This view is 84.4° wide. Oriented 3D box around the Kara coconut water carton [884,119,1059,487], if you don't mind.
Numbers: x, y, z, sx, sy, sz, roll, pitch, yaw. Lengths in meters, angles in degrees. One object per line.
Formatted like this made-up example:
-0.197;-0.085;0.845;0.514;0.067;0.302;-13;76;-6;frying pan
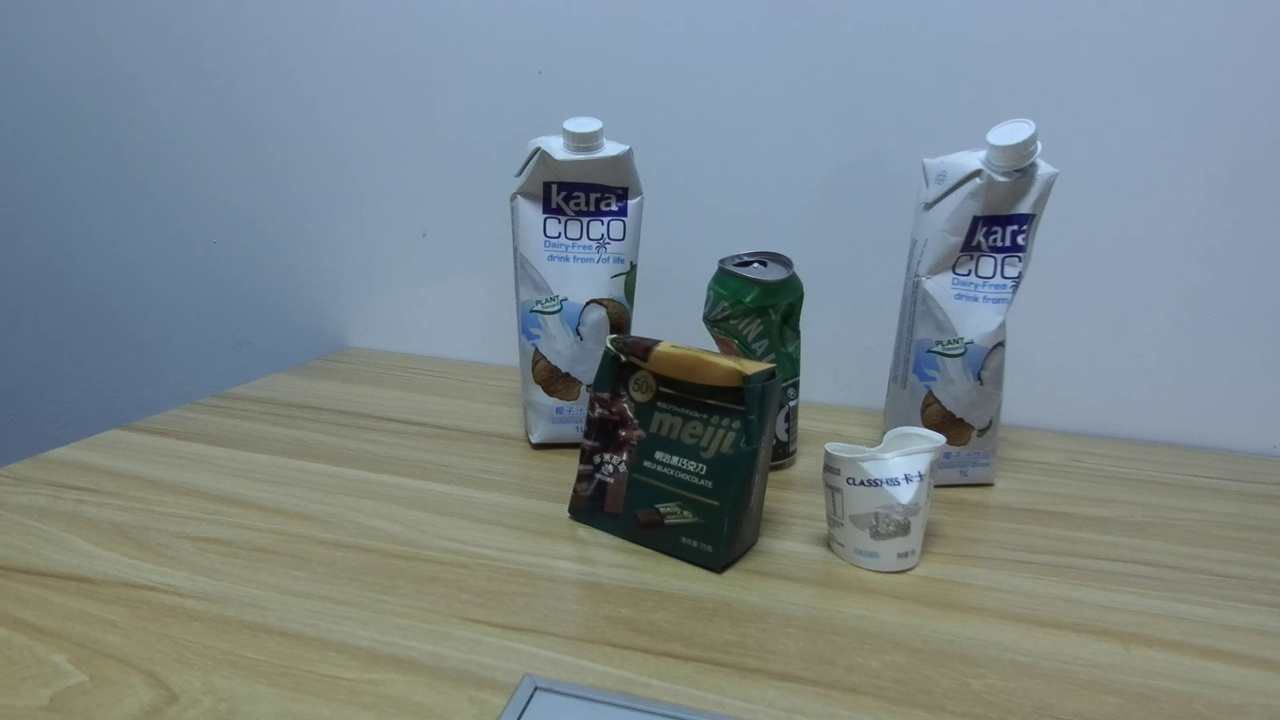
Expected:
0.231;-0.037;0.510;0.083;0.255;0.078;3;16;1;Kara coconut water carton

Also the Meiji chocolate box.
0.020;0.052;0.426;0.113;0.110;0.058;11;7;29;Meiji chocolate box

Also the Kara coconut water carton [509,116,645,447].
-0.048;-0.058;0.551;0.100;0.244;0.071;-2;12;-13;Kara coconut water carton

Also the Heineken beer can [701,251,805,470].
0.086;0.002;0.527;0.067;0.159;0.079;3;19;14;Heineken beer can
